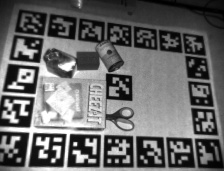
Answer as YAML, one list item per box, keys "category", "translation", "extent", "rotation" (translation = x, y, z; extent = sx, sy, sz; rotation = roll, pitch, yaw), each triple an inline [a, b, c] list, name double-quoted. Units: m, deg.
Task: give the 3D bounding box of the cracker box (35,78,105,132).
- category: "cracker box"
  translation: [-0.132, 0.061, 0.700]
  extent: [0.214, 0.072, 0.163]
  rotation: [-1, 72, -9]

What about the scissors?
- category: "scissors"
  translation: [-0.025, 0.114, 0.740]
  extent: [0.204, 0.016, 0.087]
  rotation: [0, 73, -12]

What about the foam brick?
- category: "foam brick"
  translation: [-0.088, -0.091, 0.785]
  extent: [0.078, 0.051, 0.052]
  rotation: [-5, 74, -14]

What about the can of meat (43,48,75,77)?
- category: "can of meat"
  translation: [-0.180, -0.074, 0.739]
  extent: [0.102, 0.083, 0.058]
  rotation: [18, 70, -6]

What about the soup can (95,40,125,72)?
- category: "soup can"
  translation: [-0.007, -0.110, 0.808]
  extent: [0.068, 0.068, 0.101]
  rotation: [-33, 77, -19]
